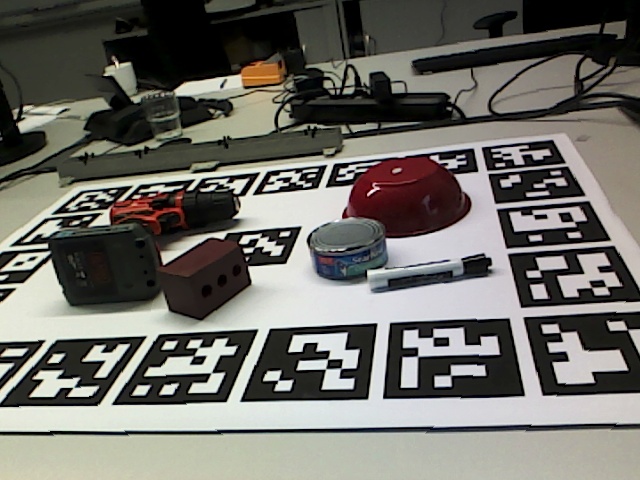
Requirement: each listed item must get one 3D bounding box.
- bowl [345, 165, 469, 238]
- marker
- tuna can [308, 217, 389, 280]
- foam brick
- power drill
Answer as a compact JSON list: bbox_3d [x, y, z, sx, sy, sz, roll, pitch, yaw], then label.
[{"bbox_3d":[0.101,-0.055,0.771,0.162,0.055,0.162,-11,18,3],"label":"bowl"},{"bbox_3d":[0.108,0.031,0.607,0.121,0.019,0.020,-8,27,4],"label":"marker"},{"bbox_3d":[0.032,0.008,0.669,0.086,0.033,0.086,-7,26,3],"label":"tuna can"},{"bbox_3d":[-0.119,0.045,0.647,0.052,0.052,0.078,9,33,33],"label":"foam brick"},{"bbox_3d":[-0.214,-0.002,0.769,0.185,0.057,0.187,-2,24,10],"label":"power drill"}]
